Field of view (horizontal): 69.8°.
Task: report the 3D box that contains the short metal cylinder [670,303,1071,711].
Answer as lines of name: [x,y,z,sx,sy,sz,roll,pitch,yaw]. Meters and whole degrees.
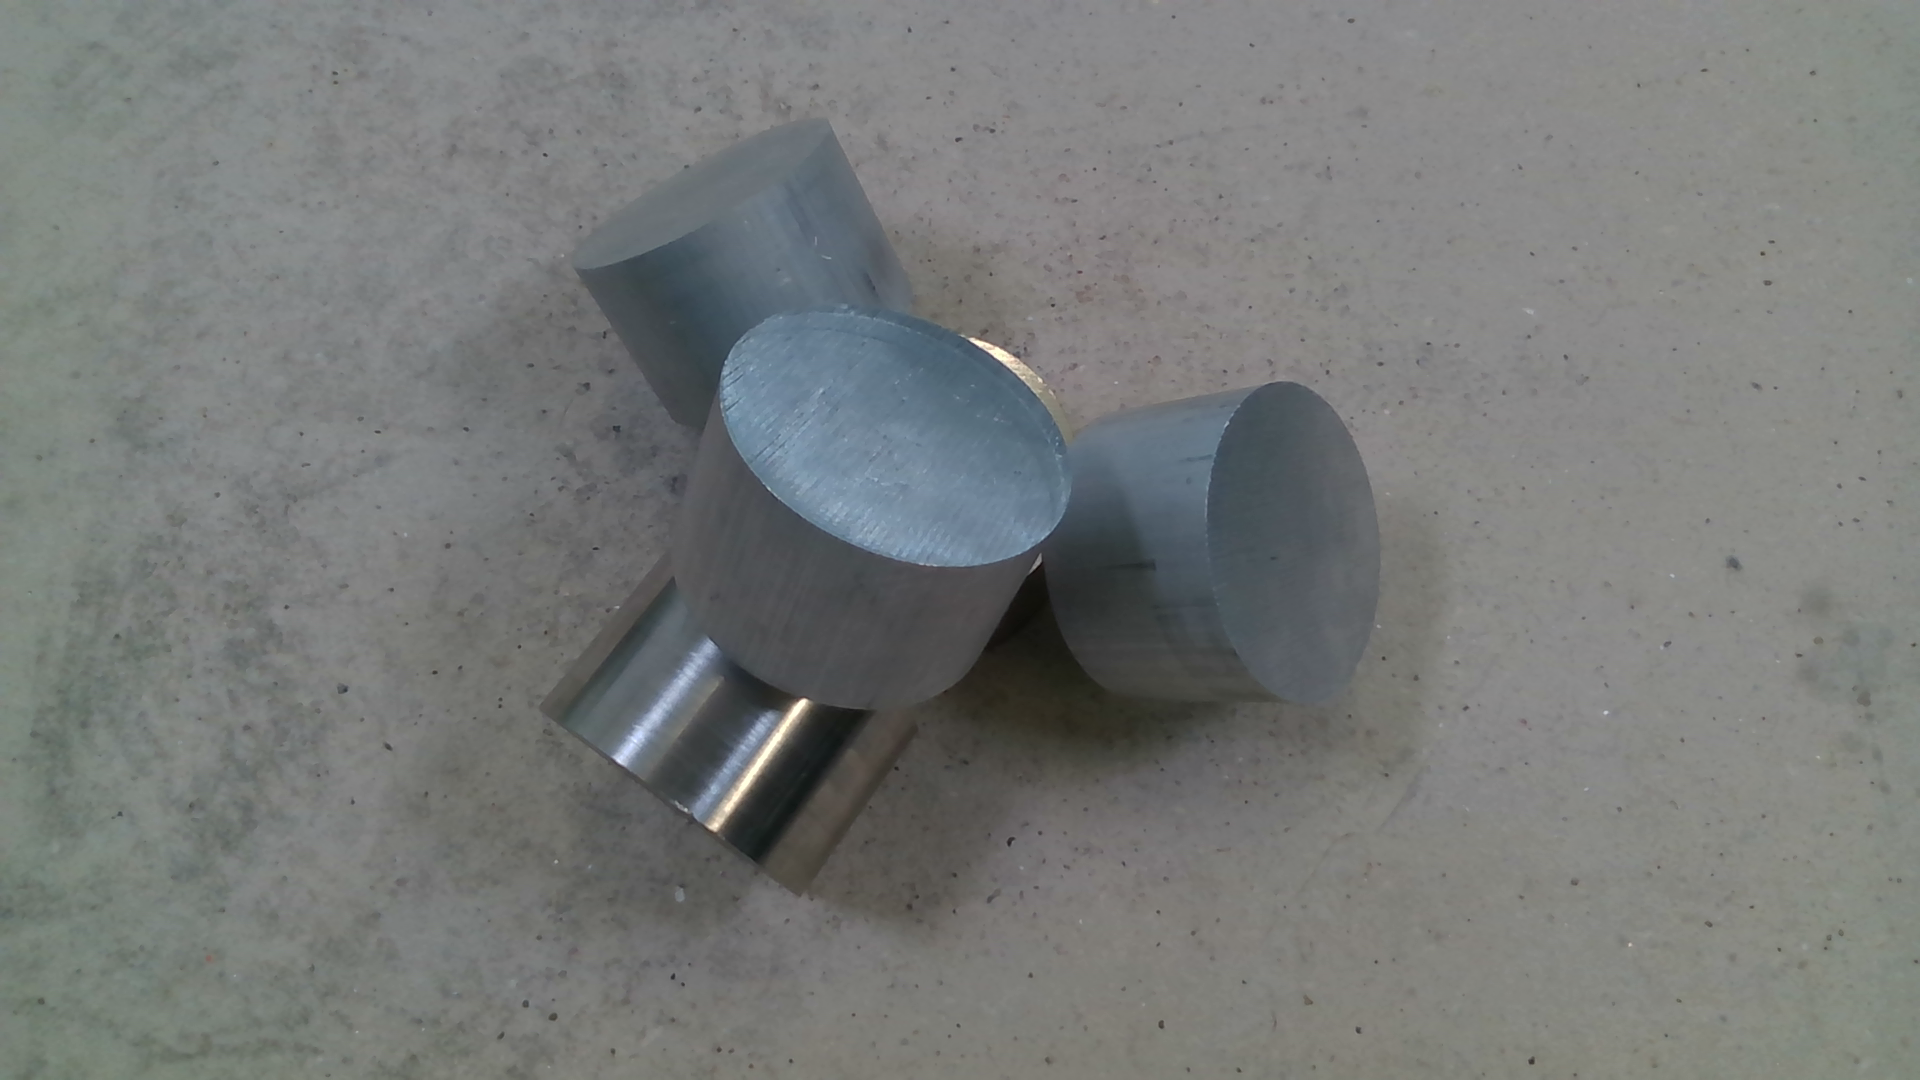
short metal cylinder: [-0.021,-0.008,0.315,0.080,0.050,0.080,14,44,-14]

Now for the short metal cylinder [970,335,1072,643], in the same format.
short metal cylinder: [-0.009,-0.011,0.386,0.080,0.050,0.080,0,71,0]

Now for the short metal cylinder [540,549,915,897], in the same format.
short metal cylinder: [-0.059,0.046,0.350,0.080,0.080,0.050,33,74,11]

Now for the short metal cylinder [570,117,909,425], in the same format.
short metal cylinder: [-0.061,-0.076,0.388,0.080,0.050,0.080,-21,29,13]

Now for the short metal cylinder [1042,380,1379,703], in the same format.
short metal cylinder: [0.066,0.002,0.359,0.050,0.080,0.080,-6,63,45]
